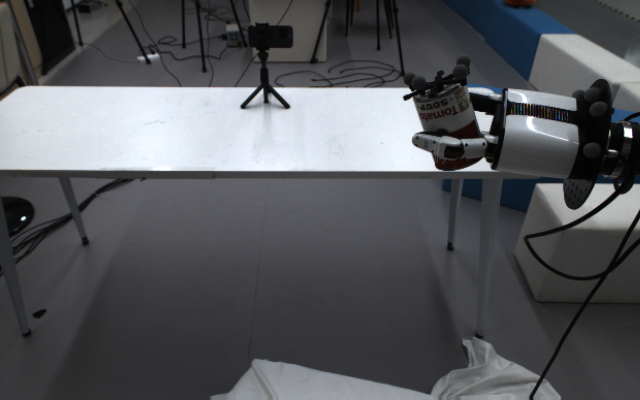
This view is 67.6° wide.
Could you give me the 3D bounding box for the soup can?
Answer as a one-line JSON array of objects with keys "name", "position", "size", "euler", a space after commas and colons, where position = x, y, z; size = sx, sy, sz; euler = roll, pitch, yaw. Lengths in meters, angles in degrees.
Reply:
[{"name": "soup can", "position": [0.167, -0.099, 0.621], "size": [0.067, 0.101, 0.067], "euler": [-22, 24, 10]}]
